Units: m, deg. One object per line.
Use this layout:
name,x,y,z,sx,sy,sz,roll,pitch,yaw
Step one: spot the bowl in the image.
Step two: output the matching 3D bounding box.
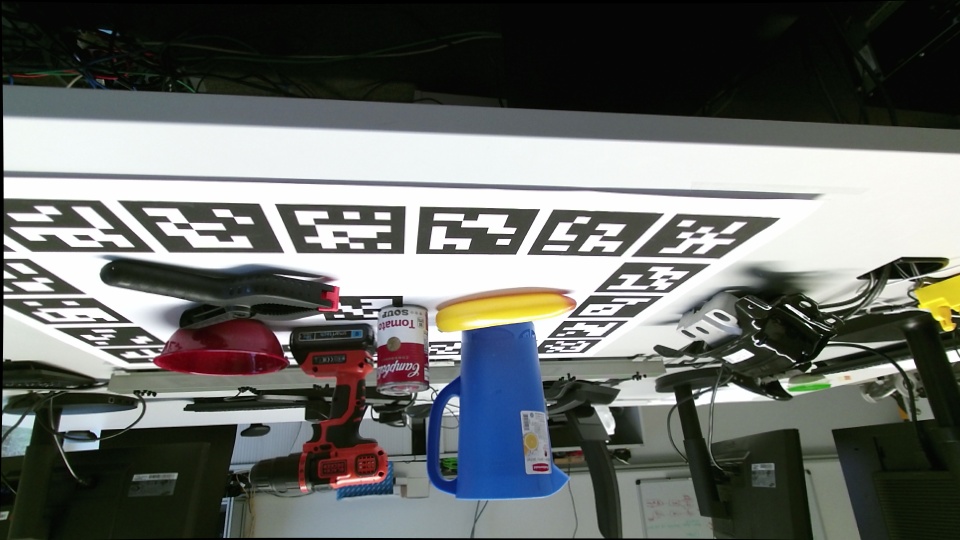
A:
bowl,-0.329,0.112,0.695,0.162,0.055,0.162,-5,154,-2

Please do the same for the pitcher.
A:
pitcher,0.018,0.205,0.742,0.189,0.241,0.133,-10,158,11

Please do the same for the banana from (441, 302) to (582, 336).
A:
banana,0.032,0.064,0.684,0.198,0.038,0.074,-9,164,13

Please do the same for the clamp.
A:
clamp,-0.244,0.043,0.566,0.204,0.036,0.165,-1,151,-8

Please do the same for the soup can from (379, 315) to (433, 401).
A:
soup can,-0.096,0.115,0.693,0.068,0.101,0.068,-3,164,-1

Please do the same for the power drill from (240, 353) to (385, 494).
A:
power drill,-0.224,0.212,0.733,0.185,0.186,0.057,-2,155,-6
